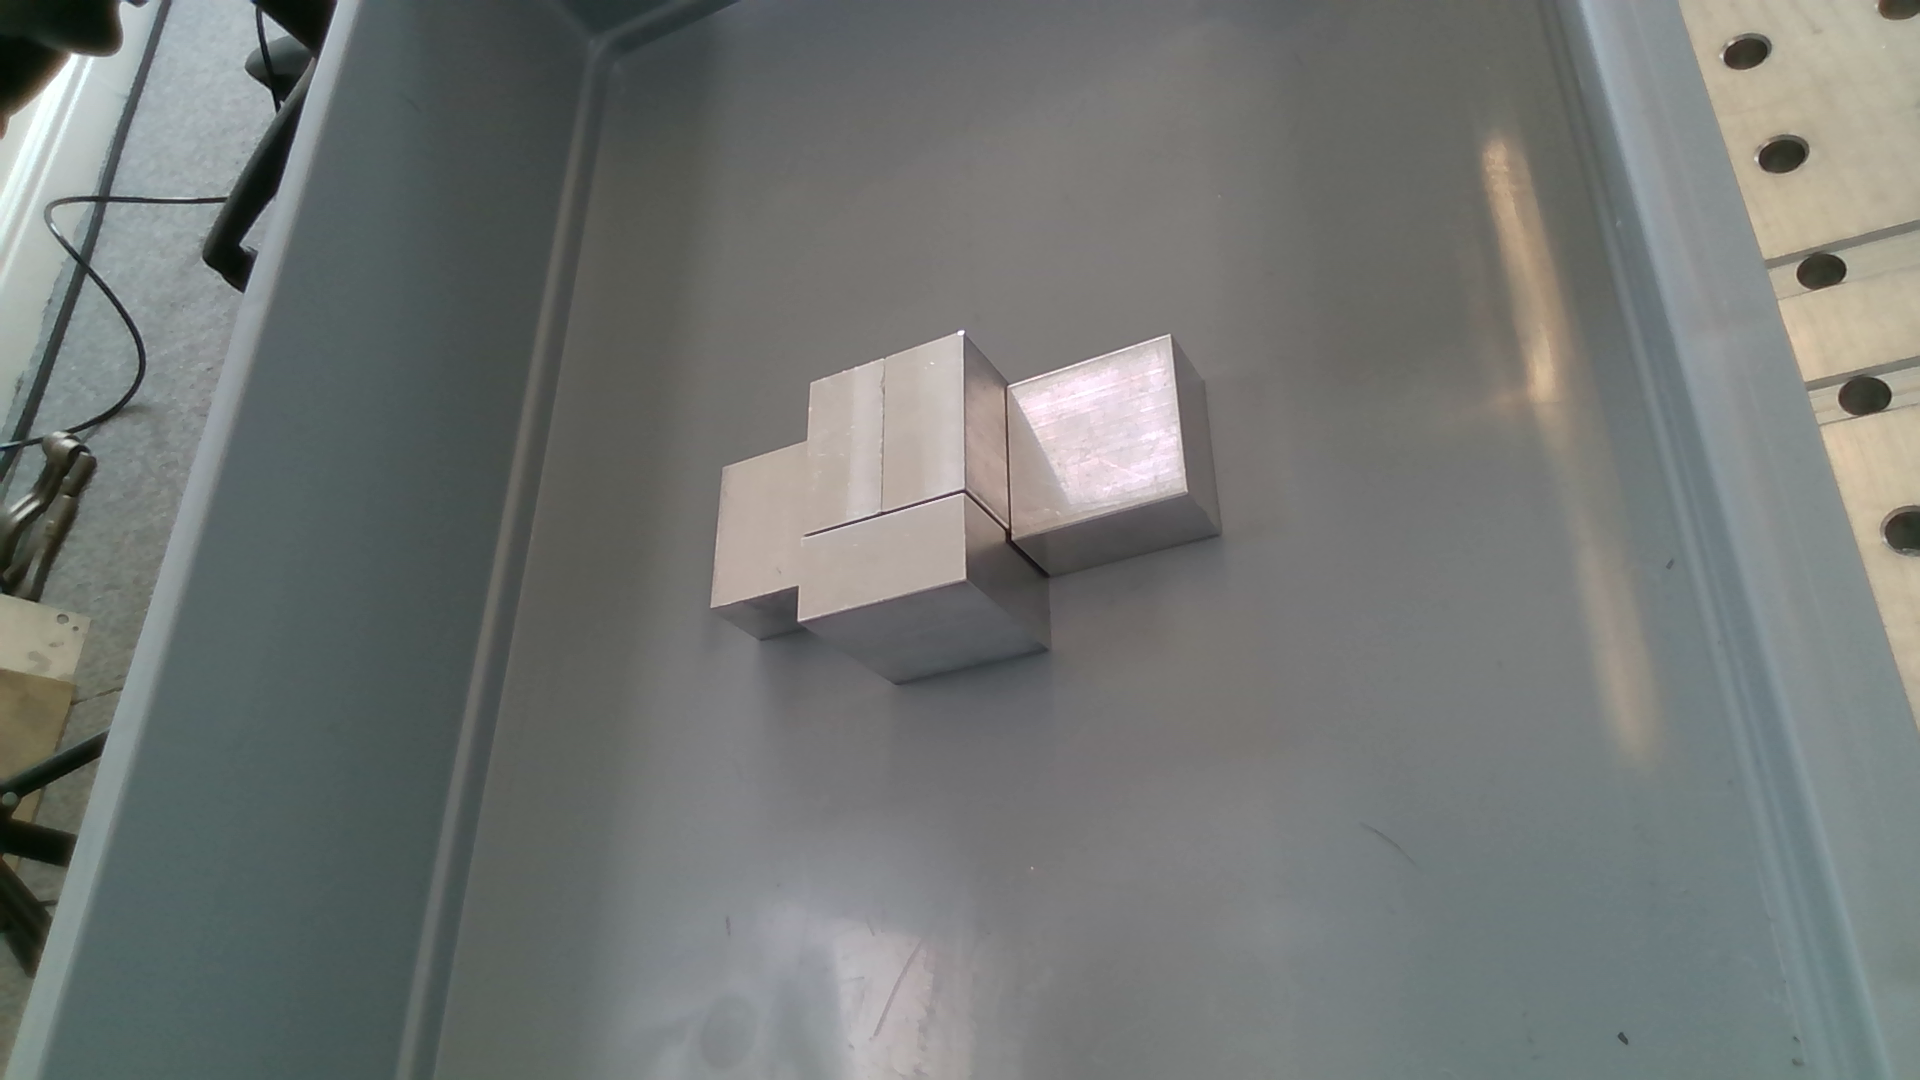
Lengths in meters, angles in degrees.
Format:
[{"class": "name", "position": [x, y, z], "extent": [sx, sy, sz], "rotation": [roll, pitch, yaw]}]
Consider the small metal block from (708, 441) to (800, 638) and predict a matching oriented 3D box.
[{"class": "small metal block", "position": [-0.047, -0.002, 0.421], "extent": [0.050, 0.025, 0.050], "rotation": [-15, 59, 25]}]

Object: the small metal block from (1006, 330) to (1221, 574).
[{"class": "small metal block", "position": [0.041, -0.023, 0.378], "extent": [0.050, 0.025, 0.050], "rotation": [-15, 59, 25]}]

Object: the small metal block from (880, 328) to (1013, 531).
[{"class": "small metal block", "position": [0.002, -0.022, 0.386], "extent": [0.025, 0.050, 0.050], "rotation": [-15, 59, 25]}]

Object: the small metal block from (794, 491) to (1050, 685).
[{"class": "small metal block", "position": [-0.009, 0.015, 0.373], "extent": [0.050, 0.050, 0.025], "rotation": [-15, 59, 25]}]

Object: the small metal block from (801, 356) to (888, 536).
[{"class": "small metal block", "position": [-0.020, -0.016, 0.396], "extent": [0.025, 0.050, 0.050], "rotation": [-15, 59, 25]}]
